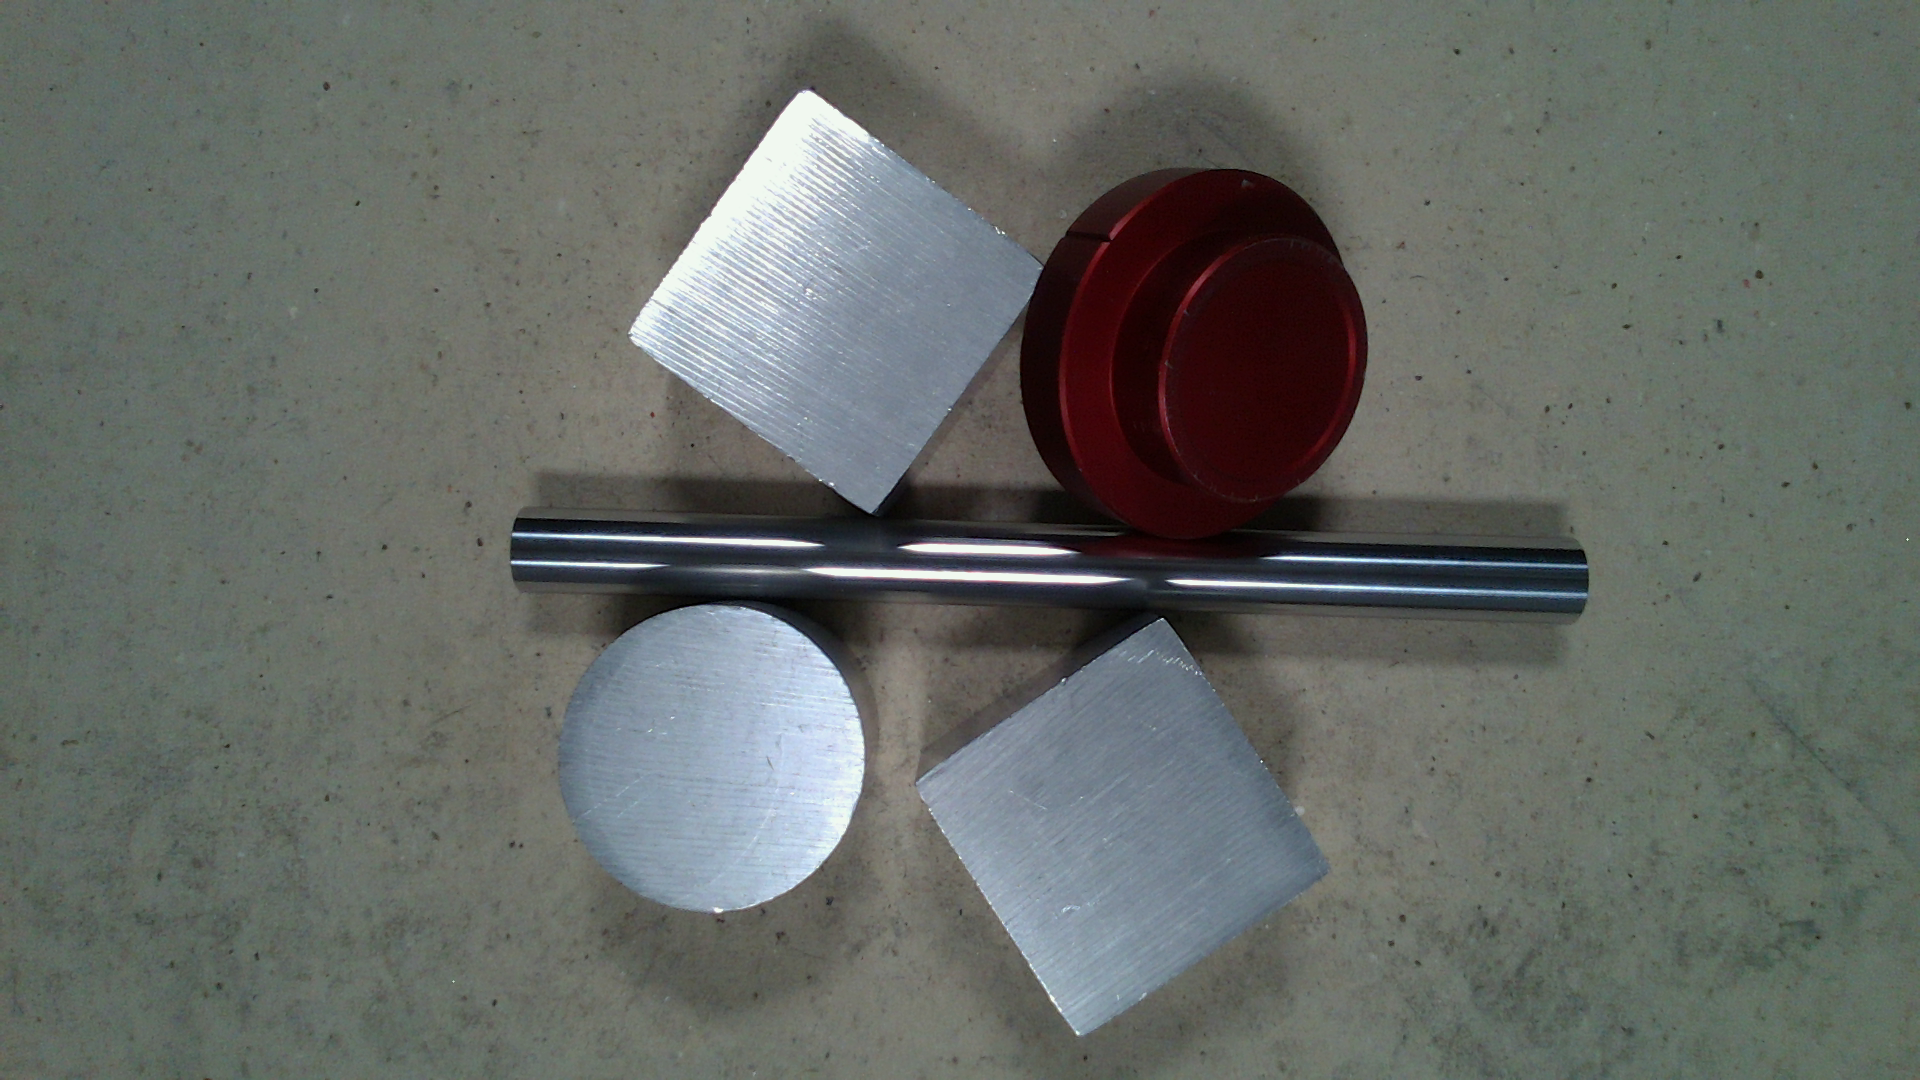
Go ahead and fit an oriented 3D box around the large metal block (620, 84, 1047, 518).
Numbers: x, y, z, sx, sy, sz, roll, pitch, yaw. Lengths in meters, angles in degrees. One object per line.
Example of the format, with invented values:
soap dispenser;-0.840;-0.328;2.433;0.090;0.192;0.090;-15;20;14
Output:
large metal block;-0.032;-0.062;0.380;0.080;0.050;0.080;36;90;0

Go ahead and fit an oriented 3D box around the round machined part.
round machined part;0.068;-0.048;0.364;0.098;0.042;0.098;-8;108;-26

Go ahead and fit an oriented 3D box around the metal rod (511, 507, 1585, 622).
metal rod;0.025;0.007;0.397;0.300;0.025;0.025;2;90;0

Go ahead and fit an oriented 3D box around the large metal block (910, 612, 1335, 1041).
large metal block;0.043;0.075;0.383;0.080;0.050;0.080;-33;90;0

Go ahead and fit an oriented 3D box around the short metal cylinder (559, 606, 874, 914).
short metal cylinder;-0.064;0.057;0.383;0.080;0.050;0.080;0;90;0
